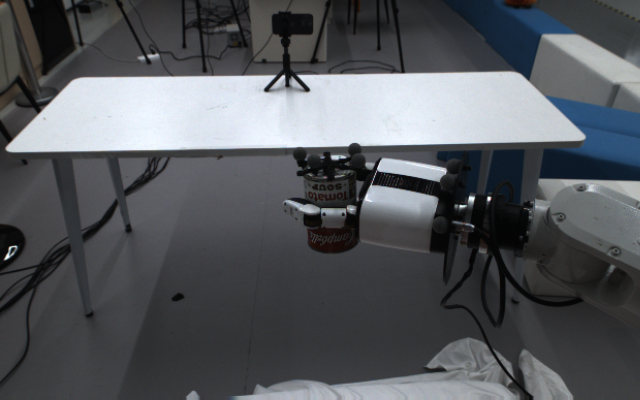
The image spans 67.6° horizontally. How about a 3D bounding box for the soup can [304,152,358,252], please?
[{"bbox_3d":[0.016,0.008,0.613,0.067,0.101,0.067,-3,25,2],"label":"soup can"}]
